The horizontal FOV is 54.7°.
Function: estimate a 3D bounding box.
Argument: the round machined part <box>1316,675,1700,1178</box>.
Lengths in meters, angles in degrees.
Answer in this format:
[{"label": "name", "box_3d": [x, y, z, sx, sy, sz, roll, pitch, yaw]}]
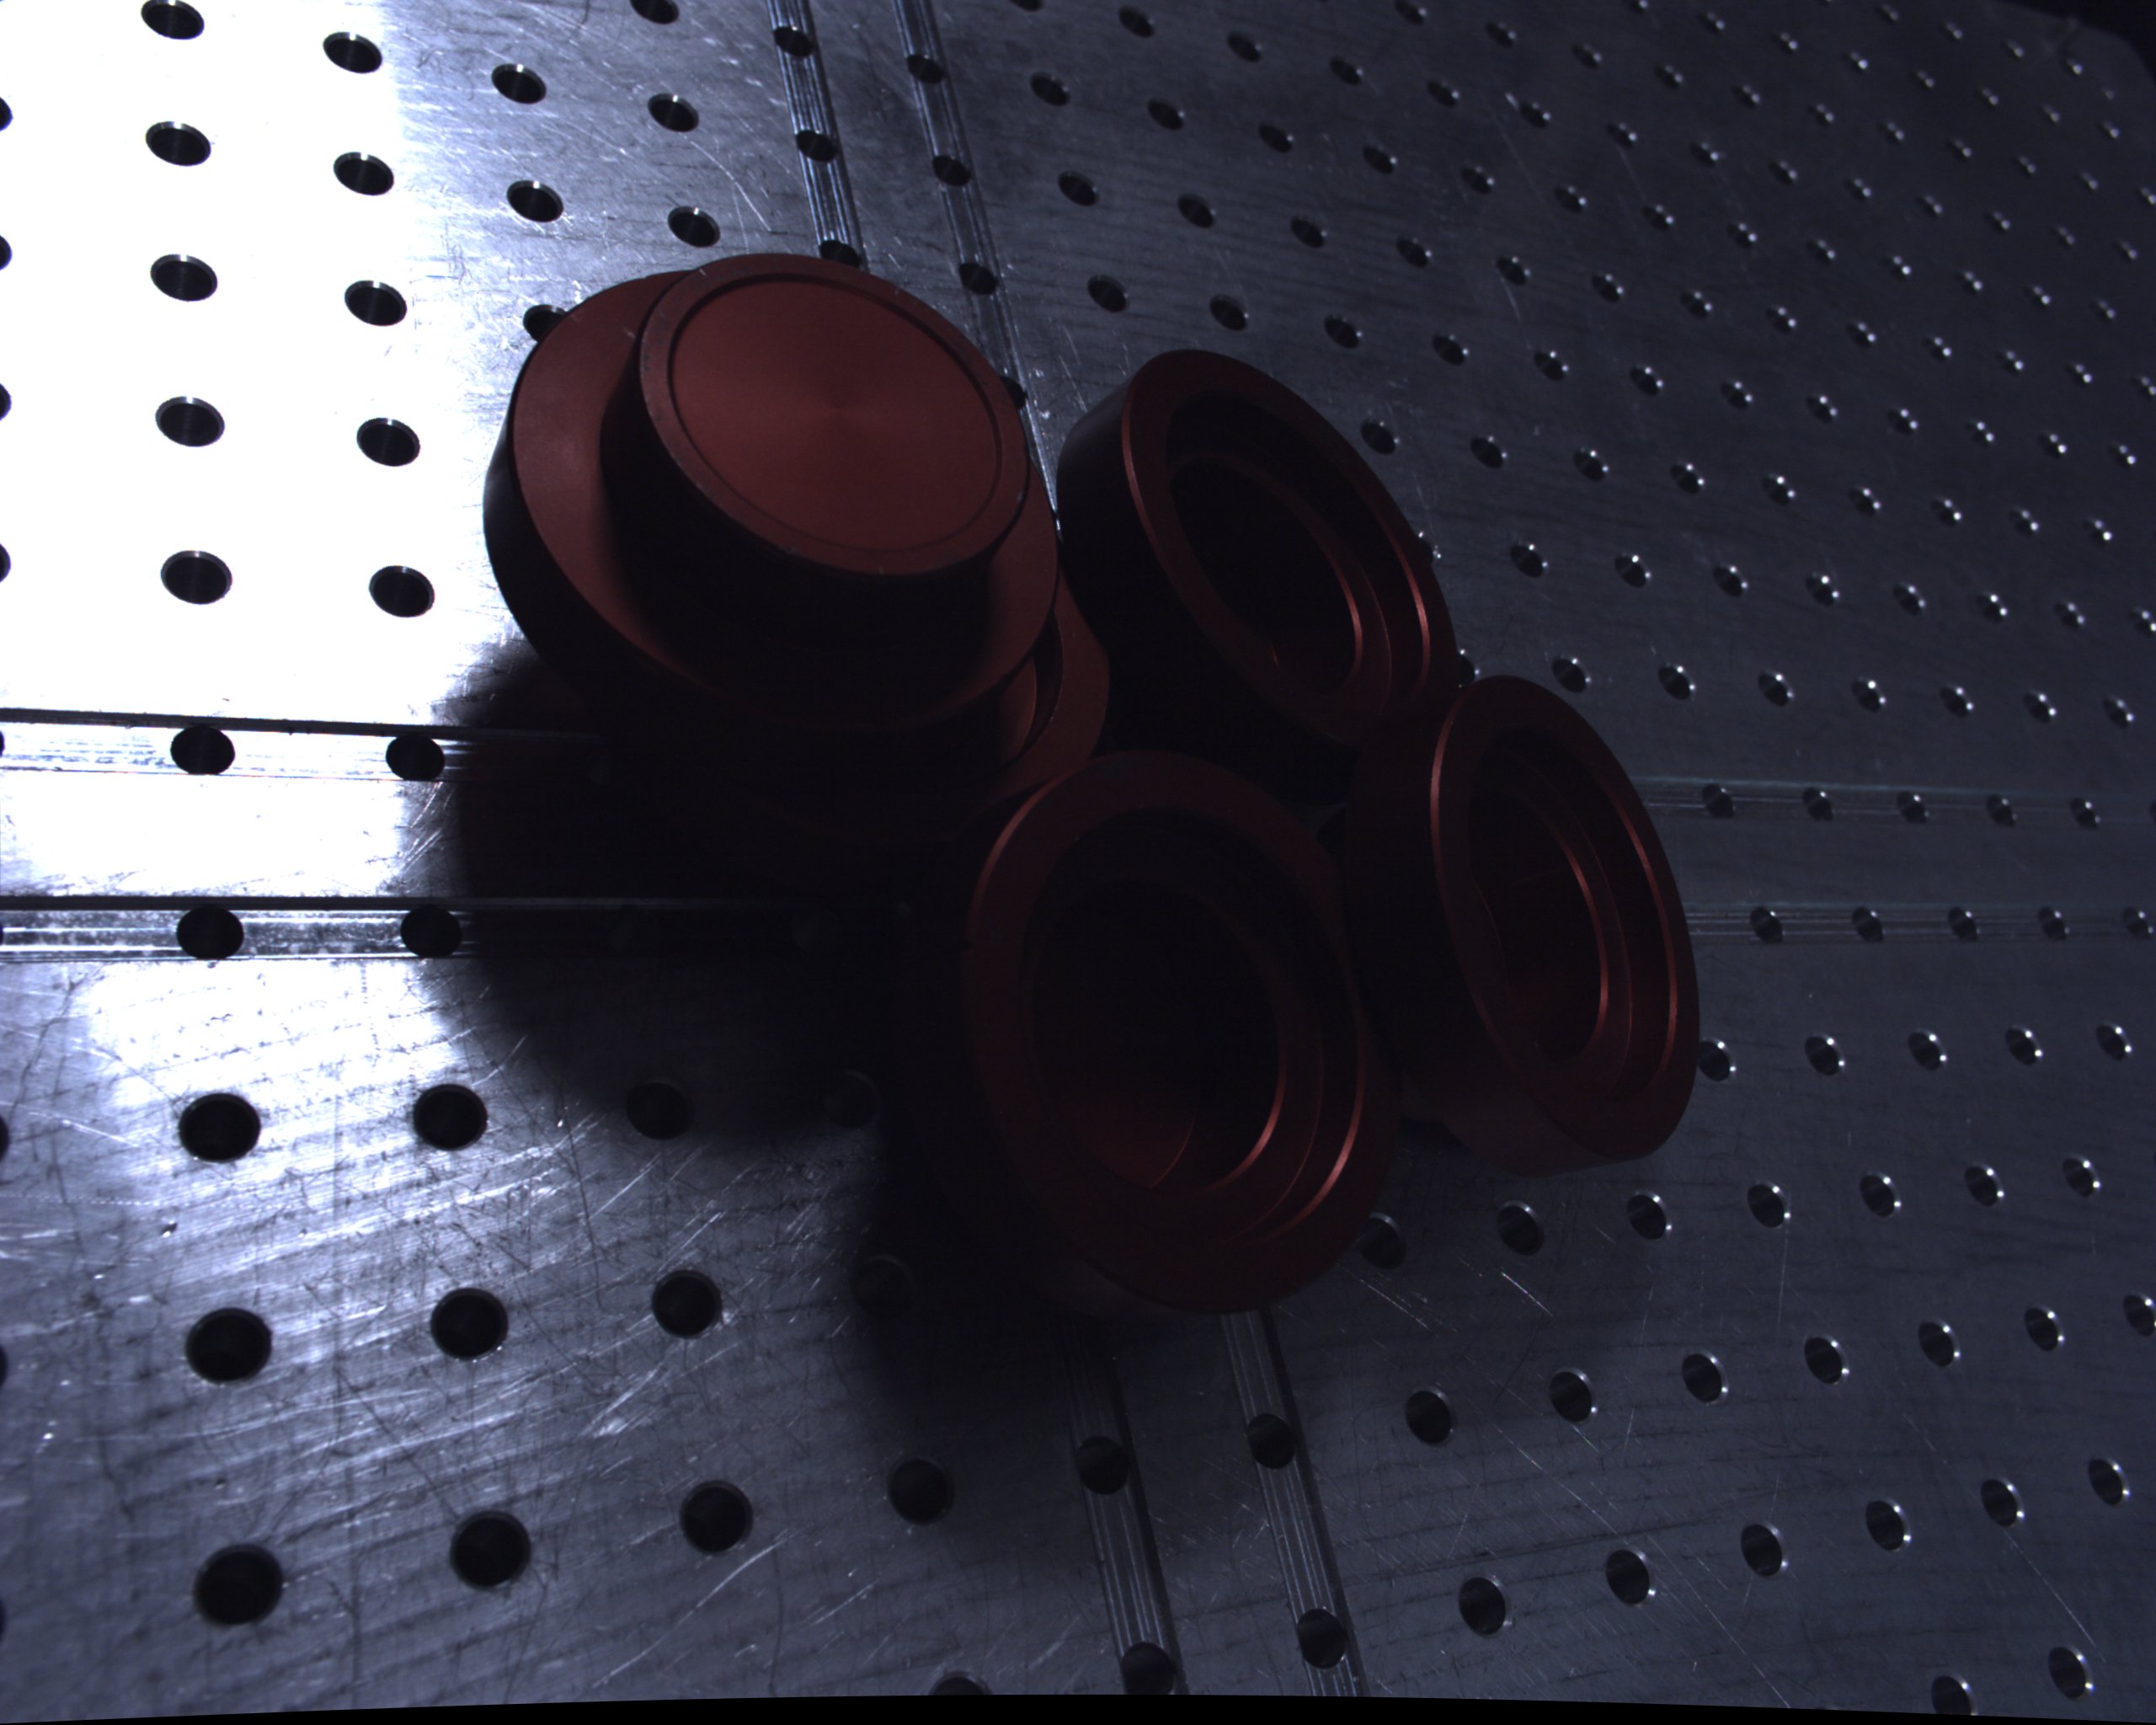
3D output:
[{"label": "round machined part", "box_3d": [0.082, 0.015, 0.419, 0.098, 0.042, 0.098, 24, 56, -42]}]

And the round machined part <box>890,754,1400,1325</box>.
[{"label": "round machined part", "box_3d": [0.008, 0.033, 0.372, 0.099, 0.042, 0.098, 13, 68, -35]}]

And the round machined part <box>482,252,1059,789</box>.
[{"label": "round machined part", "box_3d": [-0.048, -0.065, 0.358, 0.099, 0.042, 0.098, 14, 56, -21]}]

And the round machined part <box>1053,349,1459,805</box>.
[{"label": "round machined part", "box_3d": [0.032, -0.055, 0.438, 0.098, 0.042, 0.098, 27, 47, -32]}]

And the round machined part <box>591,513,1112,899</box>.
[{"label": "round machined part", "box_3d": [-0.047, -0.036, 0.394, 0.099, 0.042, 0.098, 14, 56, -21]}]
